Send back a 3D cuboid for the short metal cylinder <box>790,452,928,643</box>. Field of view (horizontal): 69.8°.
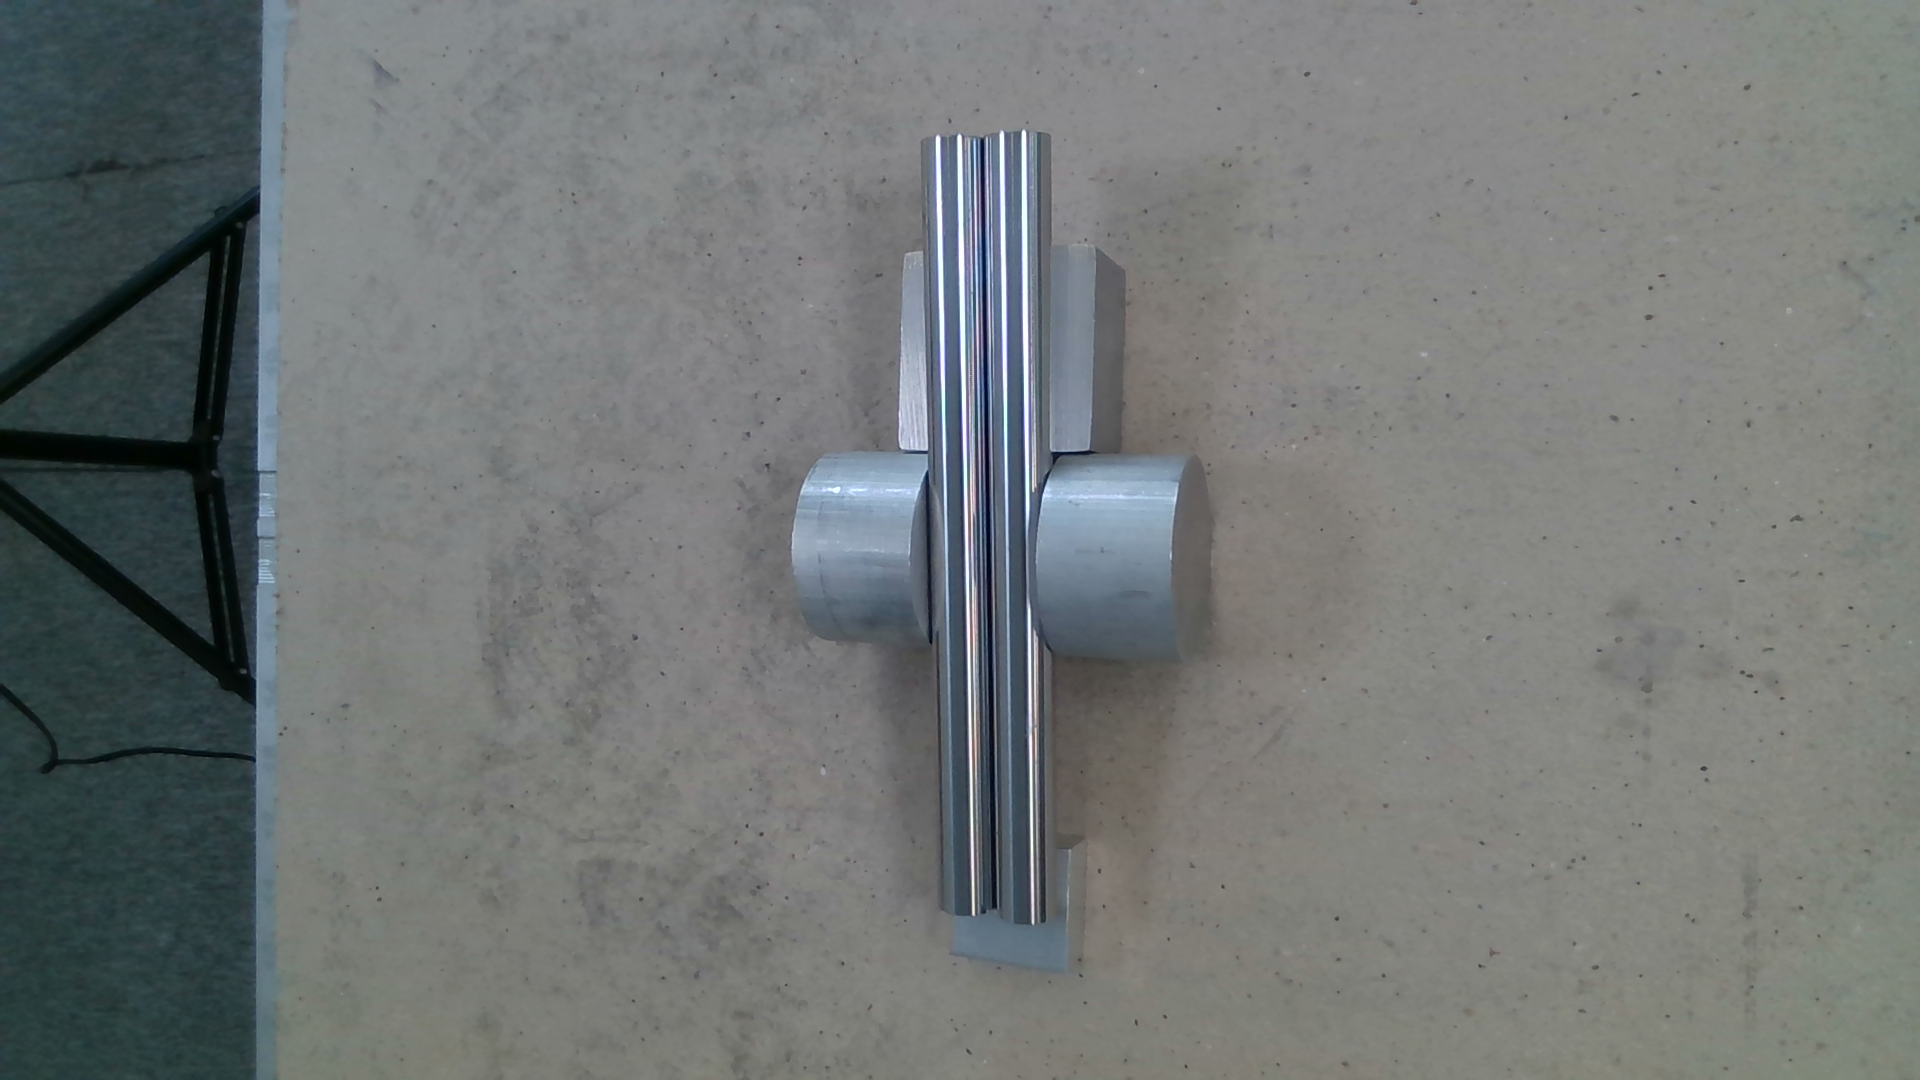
[{"bbox_3d":[-0.029,0.002,0.568,0.050,0.080,0.080,2,91,20],"label":"short metal cylinder"}]

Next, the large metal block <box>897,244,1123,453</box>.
[{"bbox_3d":[0.022,-0.075,0.564,0.080,0.050,0.080,2,91,20],"label":"large metal block"}]

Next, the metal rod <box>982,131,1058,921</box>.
[{"bbox_3d":[0.024,-0.001,0.530,0.025,0.025,0.300,2,99,20],"label":"metal rod"}]

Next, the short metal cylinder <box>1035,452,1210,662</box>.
[{"bbox_3d":[0.065,0.006,0.533,0.050,0.080,0.080,2,91,20],"label":"short metal cylinder"}]

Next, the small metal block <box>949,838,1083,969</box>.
[{"bbox_3d":[0.024,0.148,0.579,0.050,0.025,0.050,3,91,20],"label":"small metal block"}]

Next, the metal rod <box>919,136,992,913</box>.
[{"bbox_3d":[0.000,-0.001,0.538,0.025,0.025,0.300,2,99,20],"label":"metal rod"}]
